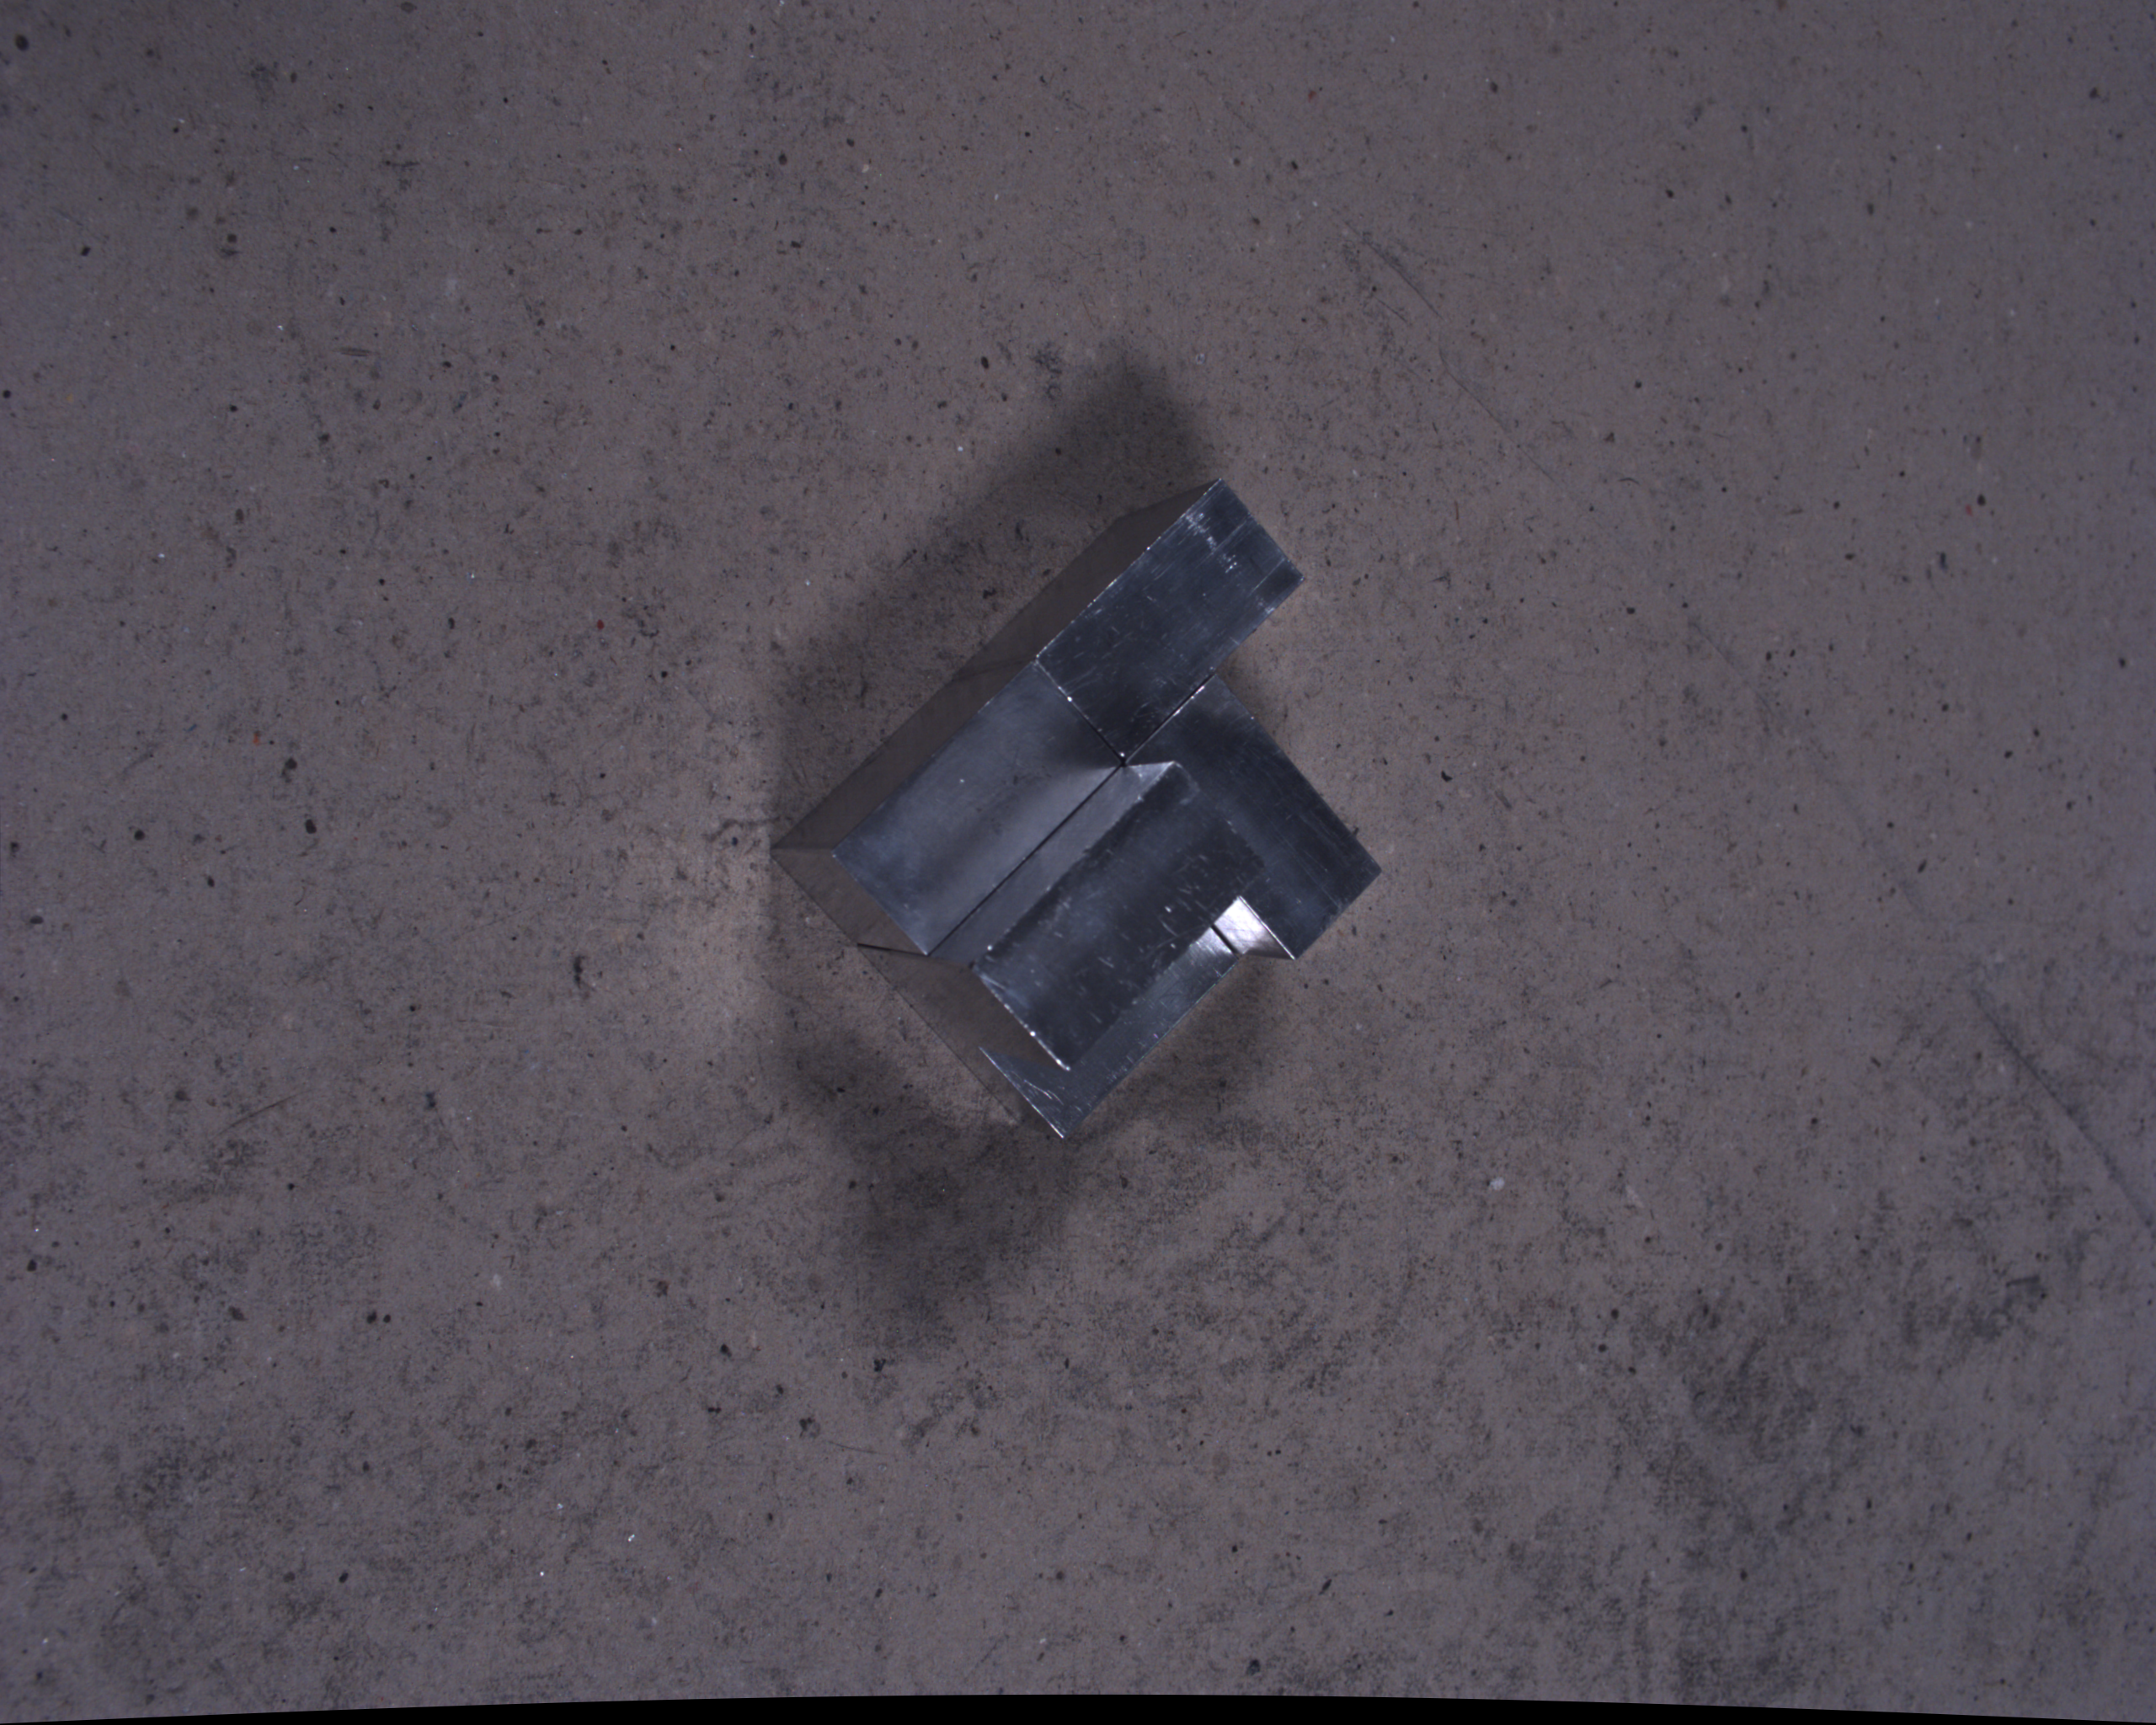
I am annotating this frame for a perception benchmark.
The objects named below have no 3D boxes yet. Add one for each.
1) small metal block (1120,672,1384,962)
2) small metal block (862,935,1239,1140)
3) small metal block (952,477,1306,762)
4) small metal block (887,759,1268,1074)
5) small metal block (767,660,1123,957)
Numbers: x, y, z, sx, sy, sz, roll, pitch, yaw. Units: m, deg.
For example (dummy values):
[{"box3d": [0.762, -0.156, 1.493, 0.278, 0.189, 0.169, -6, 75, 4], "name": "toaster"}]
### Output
[{"box3d": [0.024, -0.008, 0.407, 0.025, 0.050, 0.050, -45, 105, -14], "name": "small metal block"}, {"box3d": [-0.006, 0.018, 0.409, 0.050, 0.025, 0.050, -44, 104, -15], "name": "small metal block"}, {"box3d": [0.008, -0.044, 0.401, 0.050, 0.050, 0.025, -45, 105, -15], "name": "small metal block"}, {"box3d": [-0.001, 0.009, 0.371, 0.050, 0.050, 0.025, -45, 105, -15], "name": "small metal block"}, {"box3d": [-0.026, -0.010, 0.388, 0.050, 0.050, 0.025, -45, 105, -15], "name": "small metal block"}]
